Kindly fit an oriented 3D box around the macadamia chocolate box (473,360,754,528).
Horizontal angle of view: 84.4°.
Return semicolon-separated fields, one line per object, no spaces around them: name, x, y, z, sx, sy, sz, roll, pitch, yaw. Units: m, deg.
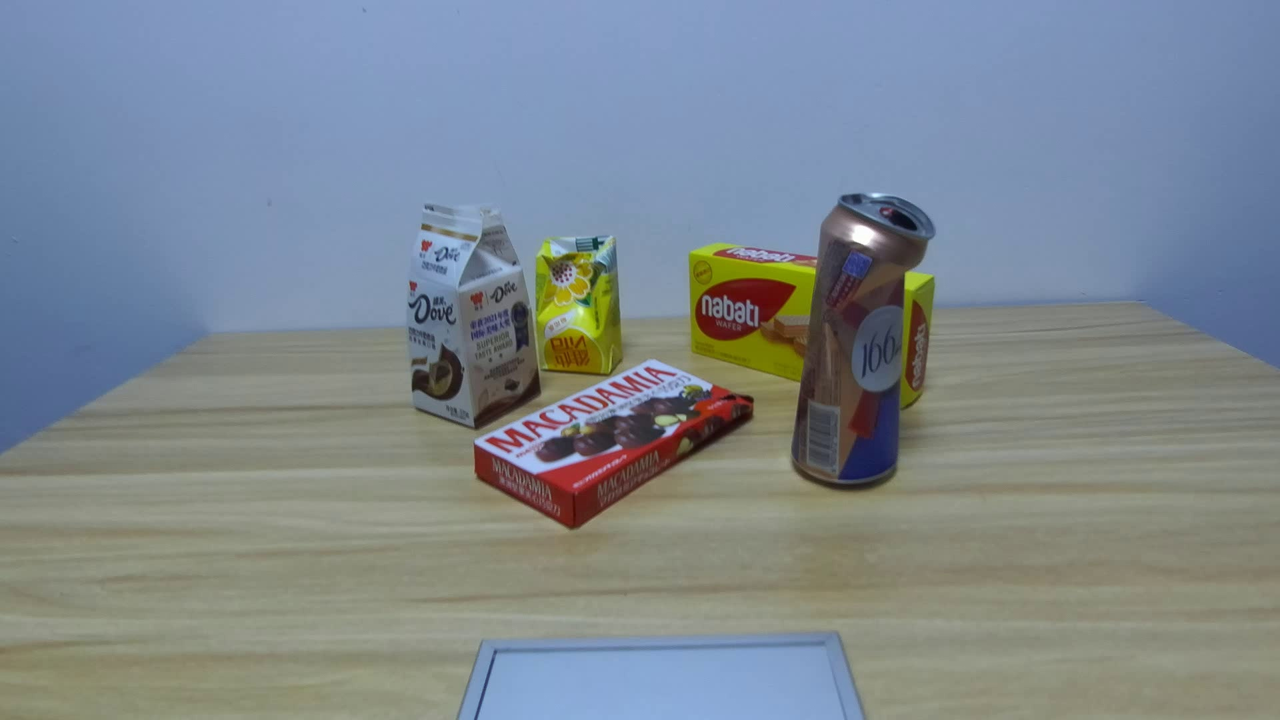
macadamia chocolate box;-0.008;0.046;0.480;0.102;0.027;0.187;19;31;37

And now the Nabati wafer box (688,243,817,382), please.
Nabati wafer box;0.130;-0.033;0.571;0.202;0.093;0.042;17;28;39

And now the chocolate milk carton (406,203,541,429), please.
chocolate milk carton;-0.133;-0.039;0.533;0.084;0.155;0.073;13;28;34

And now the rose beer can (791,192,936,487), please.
rose beer can;0.128;-0.009;0.416;0.070;0.168;0.069;0;23;-4

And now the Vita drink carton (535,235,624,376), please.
Vita drink carton;-0.054;-0.046;0.600;0.071;0.110;0.046;3;20;17
